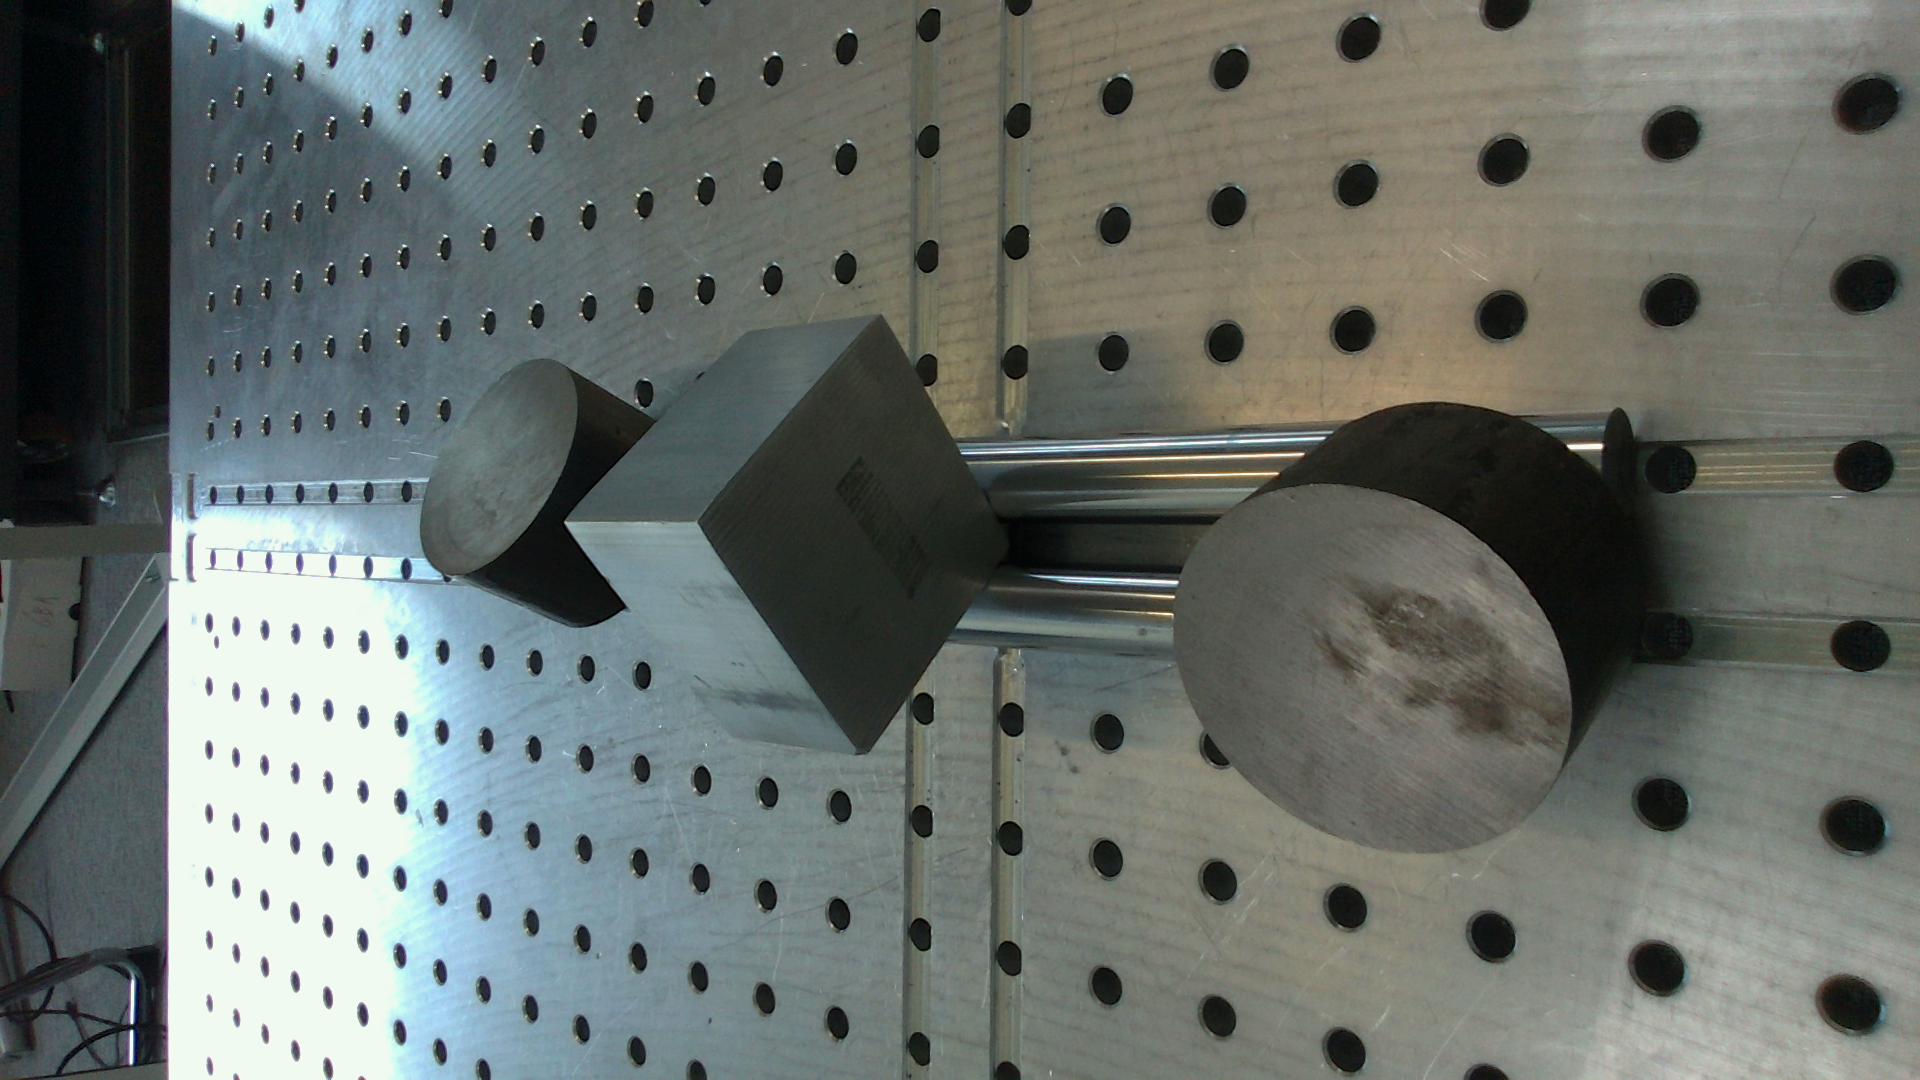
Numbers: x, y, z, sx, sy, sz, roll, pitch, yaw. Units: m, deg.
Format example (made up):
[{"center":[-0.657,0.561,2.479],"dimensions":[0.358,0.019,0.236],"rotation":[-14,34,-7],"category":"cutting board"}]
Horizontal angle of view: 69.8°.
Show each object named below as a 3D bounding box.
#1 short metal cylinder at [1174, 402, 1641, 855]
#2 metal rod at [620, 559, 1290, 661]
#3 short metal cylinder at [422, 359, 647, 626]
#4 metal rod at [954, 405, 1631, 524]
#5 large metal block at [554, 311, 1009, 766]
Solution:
[{"center":[0.092,0.017,0.286],"dimensions":[0.080,0.050,0.080],"rotation":[20,124,32],"category":"short metal cylinder"},{"center":[-0.036,0.017,0.427],"dimensions":[0.299,0.025,0.025],"rotation":[1,91,40],"category":"metal rod"},{"center":[-0.141,-0.016,0.482],"dimensions":[0.080,0.050,0.080],"rotation":[-19,56,31],"category":"short metal cylinder"},{"center":[0.021,-0.017,0.380],"dimensions":[0.299,0.025,0.025],"rotation":[1,91,40],"category":"metal rod"},{"center":[-0.042,-0.001,0.358],"dimensions":[0.050,0.080,0.080],"rotation":[1,133,40],"category":"large metal block"}]
